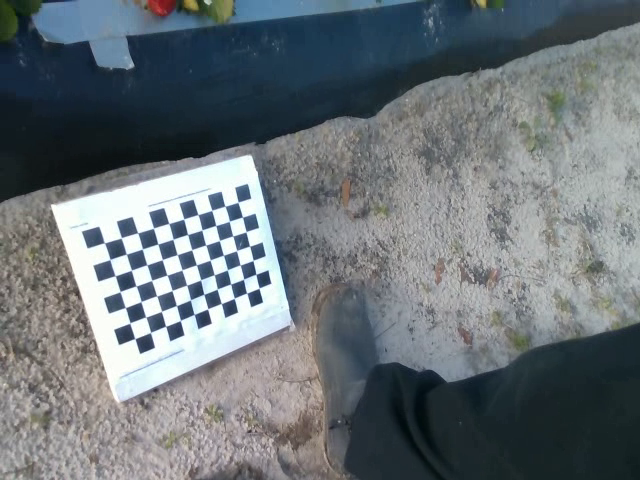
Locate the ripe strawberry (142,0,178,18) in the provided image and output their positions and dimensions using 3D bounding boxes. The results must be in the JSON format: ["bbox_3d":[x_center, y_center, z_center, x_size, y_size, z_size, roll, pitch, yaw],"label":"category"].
[{"bbox_3d":[-0.096,-0.151,0.427,0.023,0.026,0.020,-7,-34,-12],"label":"ripe strawberry"}]
